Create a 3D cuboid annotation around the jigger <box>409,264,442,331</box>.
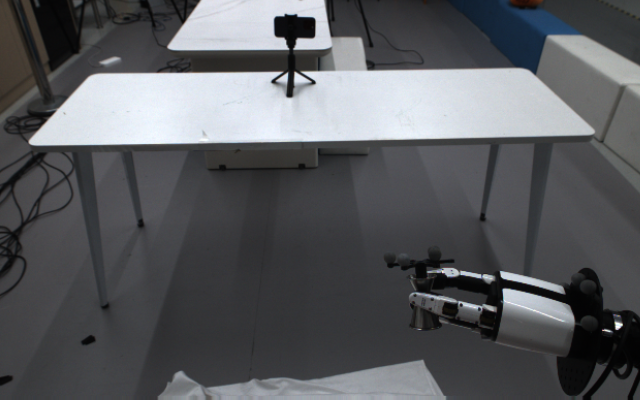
[{"bbox_3d":[0.138,0.134,0.649,0.043,0.071,0.043,-4,1,0],"label":"jigger"}]
